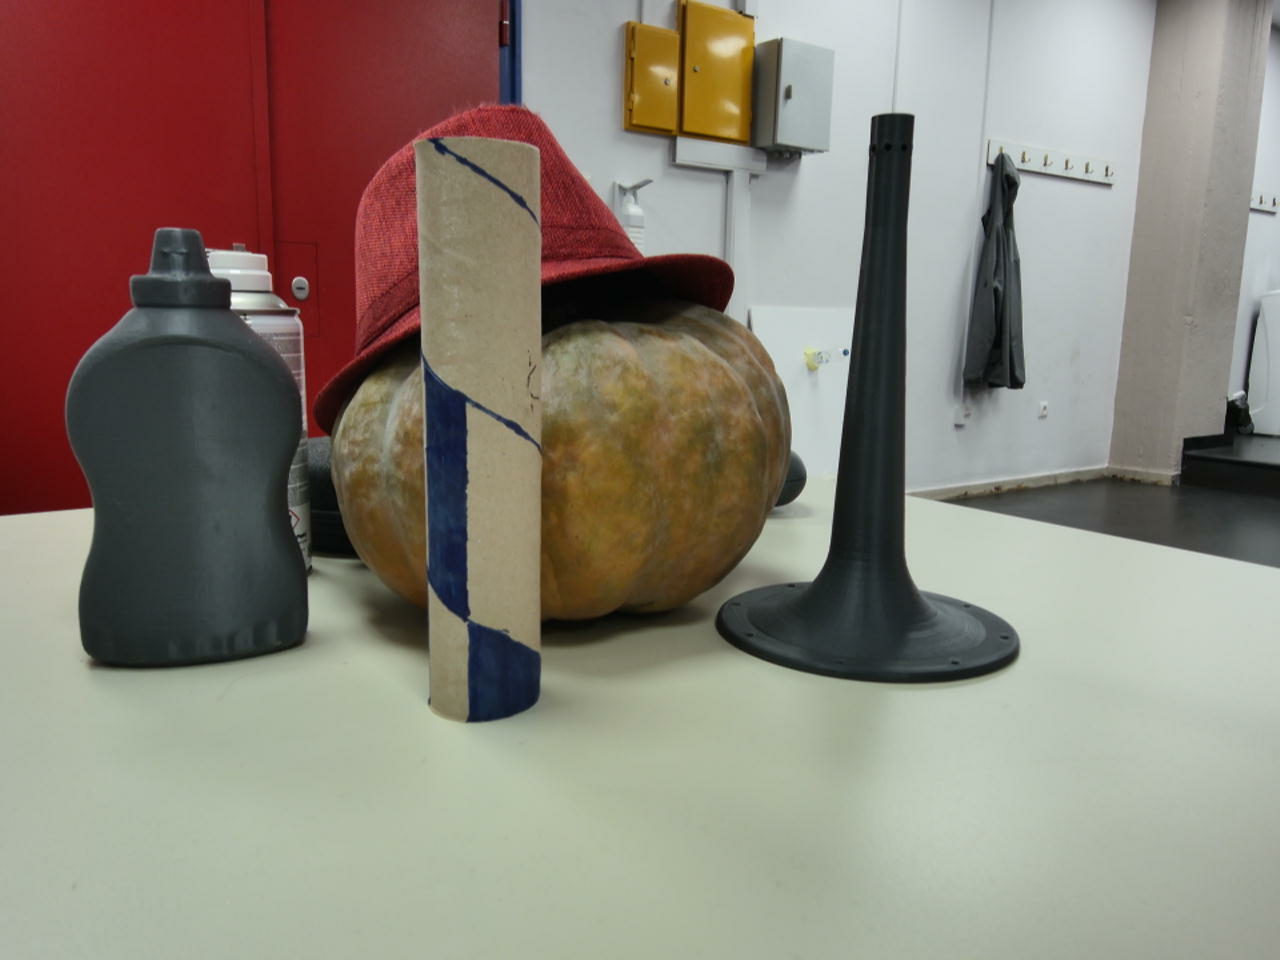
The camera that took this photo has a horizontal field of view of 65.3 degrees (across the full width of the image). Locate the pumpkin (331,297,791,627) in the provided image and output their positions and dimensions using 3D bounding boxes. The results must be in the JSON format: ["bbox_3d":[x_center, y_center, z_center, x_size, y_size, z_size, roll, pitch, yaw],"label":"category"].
[{"bbox_3d":[-0.044,-0.015,0.547,0.252,0.168,0.252,0,8,0],"label":"pumpkin"}]
